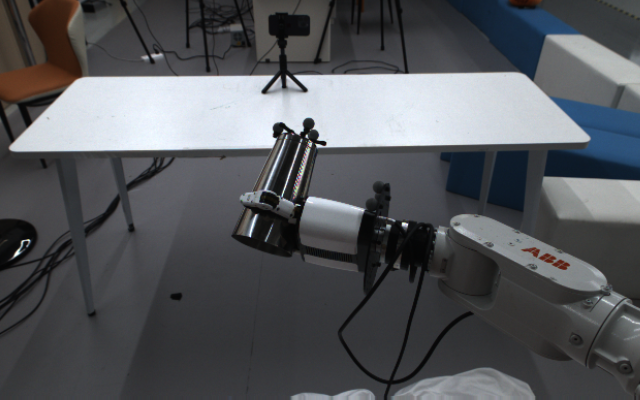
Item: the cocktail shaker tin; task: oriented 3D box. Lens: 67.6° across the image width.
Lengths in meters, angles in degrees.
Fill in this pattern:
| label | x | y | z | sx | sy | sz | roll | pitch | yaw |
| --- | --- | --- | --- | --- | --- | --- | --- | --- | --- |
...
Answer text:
| label | x | y | z | sx | sy | sz | roll | pitch | yaw |
| --- | --- | --- | --- | --- | --- | --- | --- | --- | --- |
| cocktail shaker tin | -0.062 | -0.011 | 0.720 | 0.093 | 0.093 | 0.170 | 14 | 72 | 17 |
